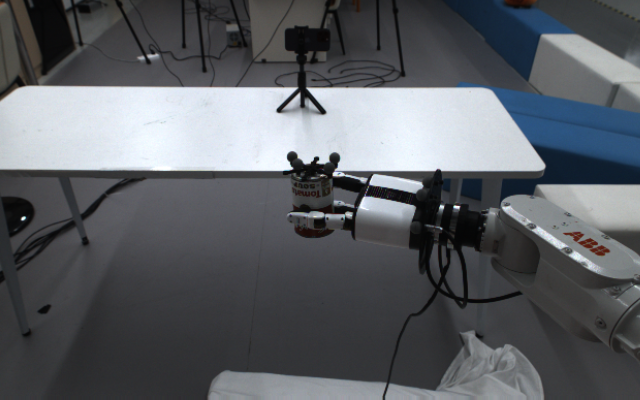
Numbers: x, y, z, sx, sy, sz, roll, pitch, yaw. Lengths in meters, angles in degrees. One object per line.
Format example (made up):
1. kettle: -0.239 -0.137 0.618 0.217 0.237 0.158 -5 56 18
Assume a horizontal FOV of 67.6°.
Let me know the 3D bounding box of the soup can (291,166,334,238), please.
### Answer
1. soup can: -0.010 0.000 0.773 0.067 0.101 0.067 -3 27 2
